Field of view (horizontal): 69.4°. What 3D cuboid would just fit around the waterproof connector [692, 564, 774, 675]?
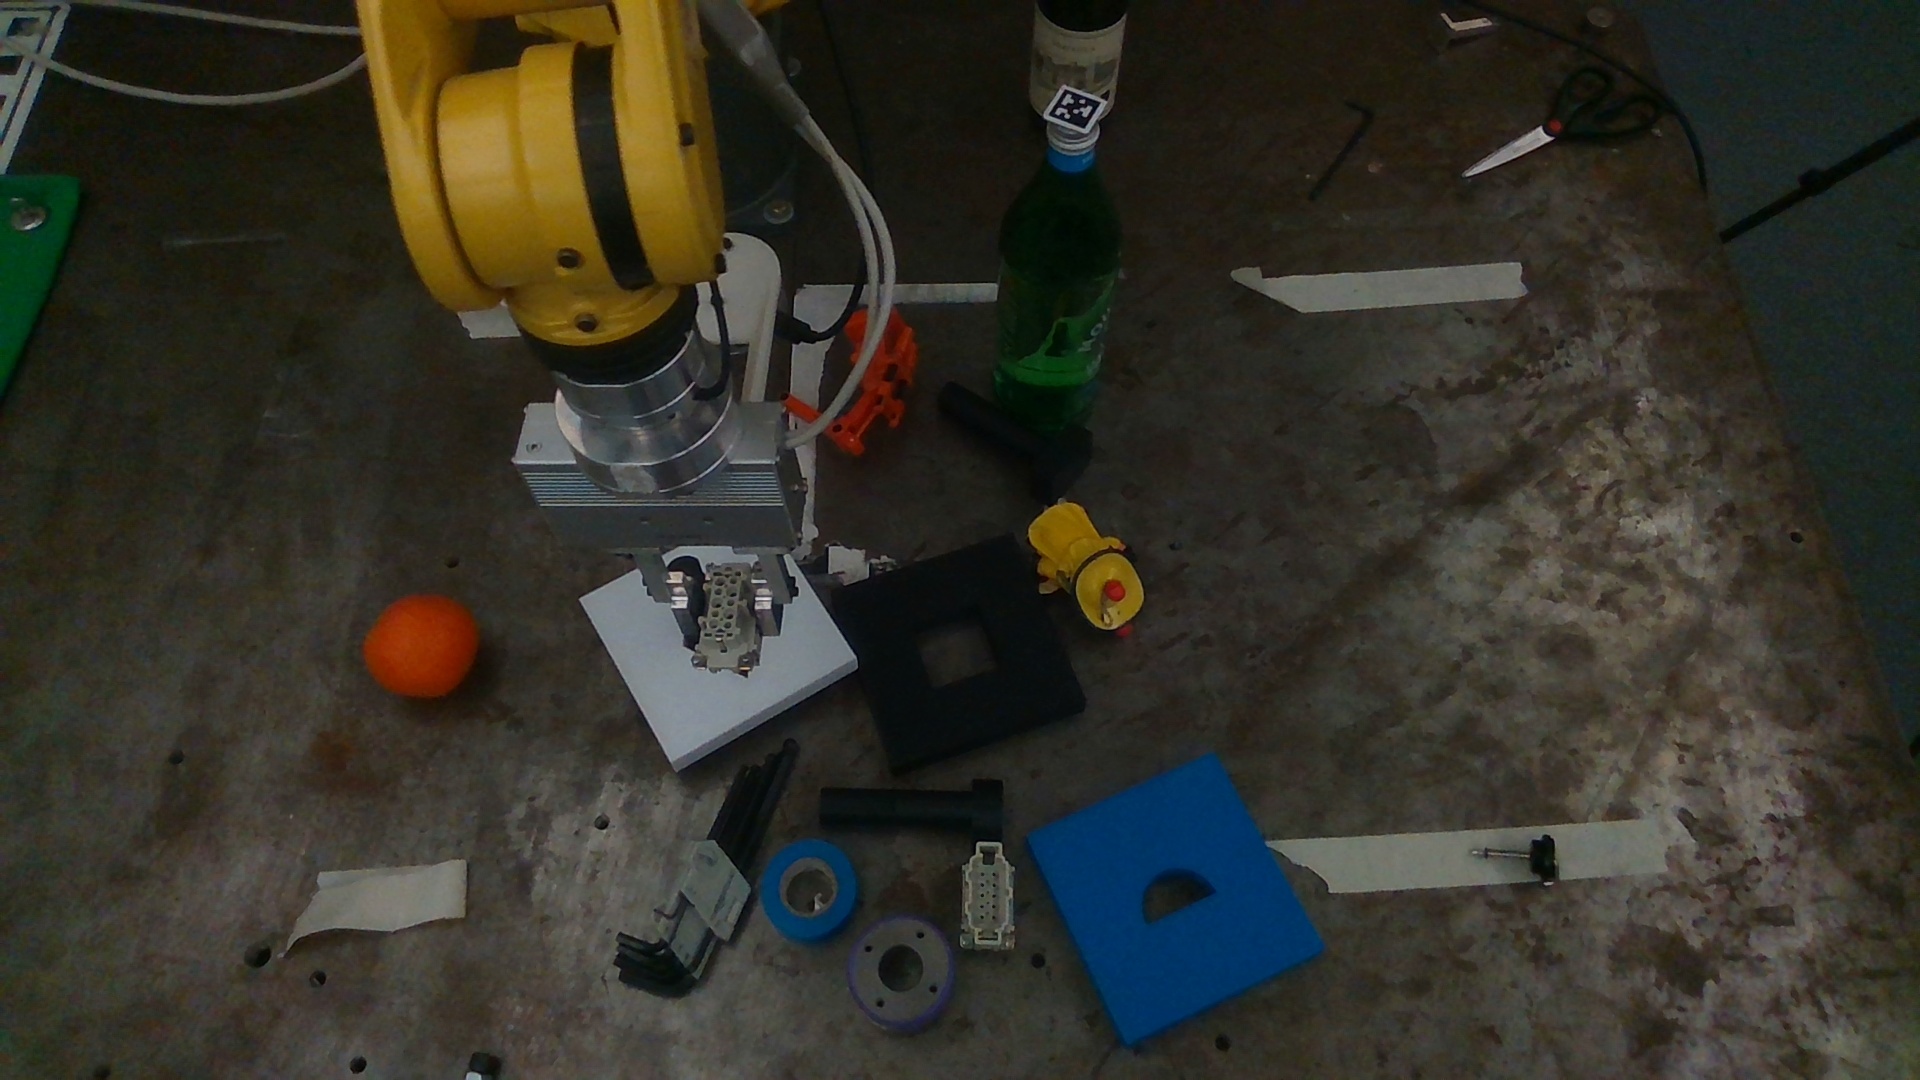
[{"bbox_3d":[-0.132,0.045,0.800,0.037,0.038,0.069,-5,55,12],"label":"waterproof connector"}]
